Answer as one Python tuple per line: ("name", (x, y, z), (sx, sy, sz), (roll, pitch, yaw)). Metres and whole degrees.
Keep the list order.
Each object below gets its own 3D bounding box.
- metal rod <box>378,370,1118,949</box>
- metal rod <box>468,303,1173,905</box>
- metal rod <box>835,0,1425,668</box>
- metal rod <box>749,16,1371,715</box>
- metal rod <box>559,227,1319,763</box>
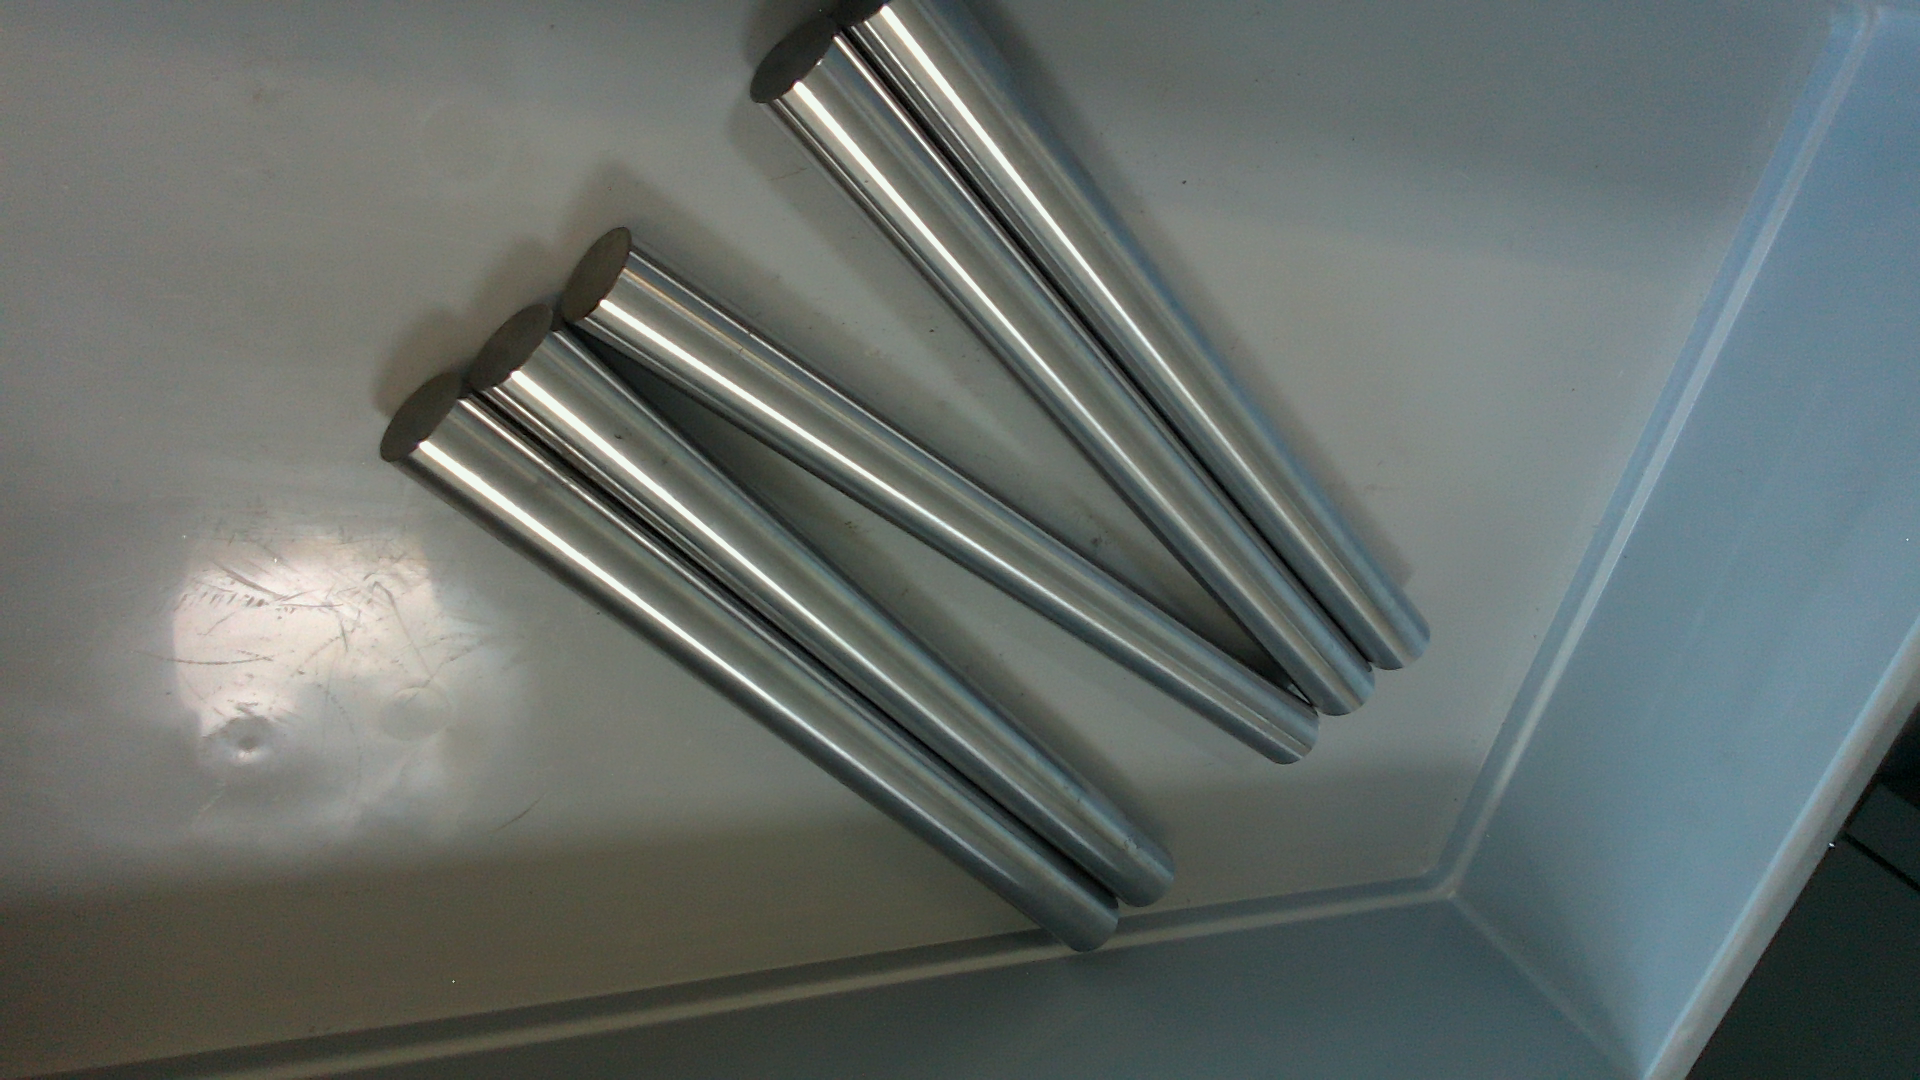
("metal rod", (-0.037, 0.054, 0.401), (0.025, 0.025, 0.301), (-44, 129, 2))
("metal rod", (-0.018, 0.038, 0.402), (0.025, 0.025, 0.301), (-44, 129, 2))
("metal rod", (0.068, -0.044, 0.398), (0.025, 0.025, 0.301), (-45, 129, 3))
("metal rod", (0.049, -0.027, 0.398), (0.025, 0.025, 0.301), (-45, 129, 3))
("metal rod", (0.018, 0.004, 0.400), (0.301, 0.025, 0.025), (33, 100, -38))
